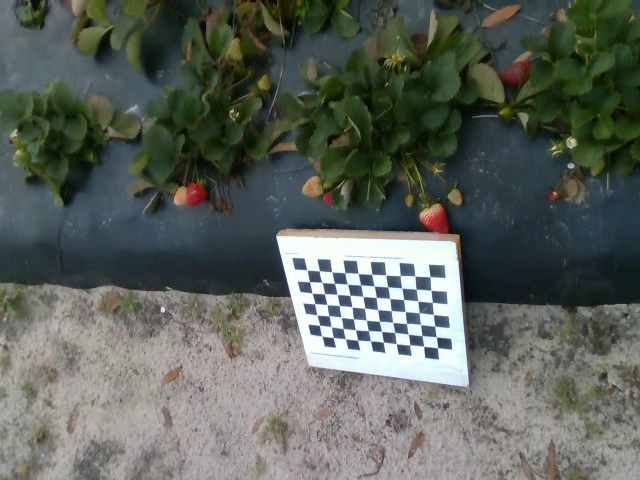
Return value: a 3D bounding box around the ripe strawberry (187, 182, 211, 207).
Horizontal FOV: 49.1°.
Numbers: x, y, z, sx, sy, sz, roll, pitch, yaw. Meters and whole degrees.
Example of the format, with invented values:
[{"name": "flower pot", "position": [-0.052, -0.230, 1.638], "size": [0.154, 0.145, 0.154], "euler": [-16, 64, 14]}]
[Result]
[{"name": "ripe strawberry", "position": [-0.200, -0.072, 1.097], "size": [0.034, 0.042, 0.033], "euler": [29, -21, 9]}]
